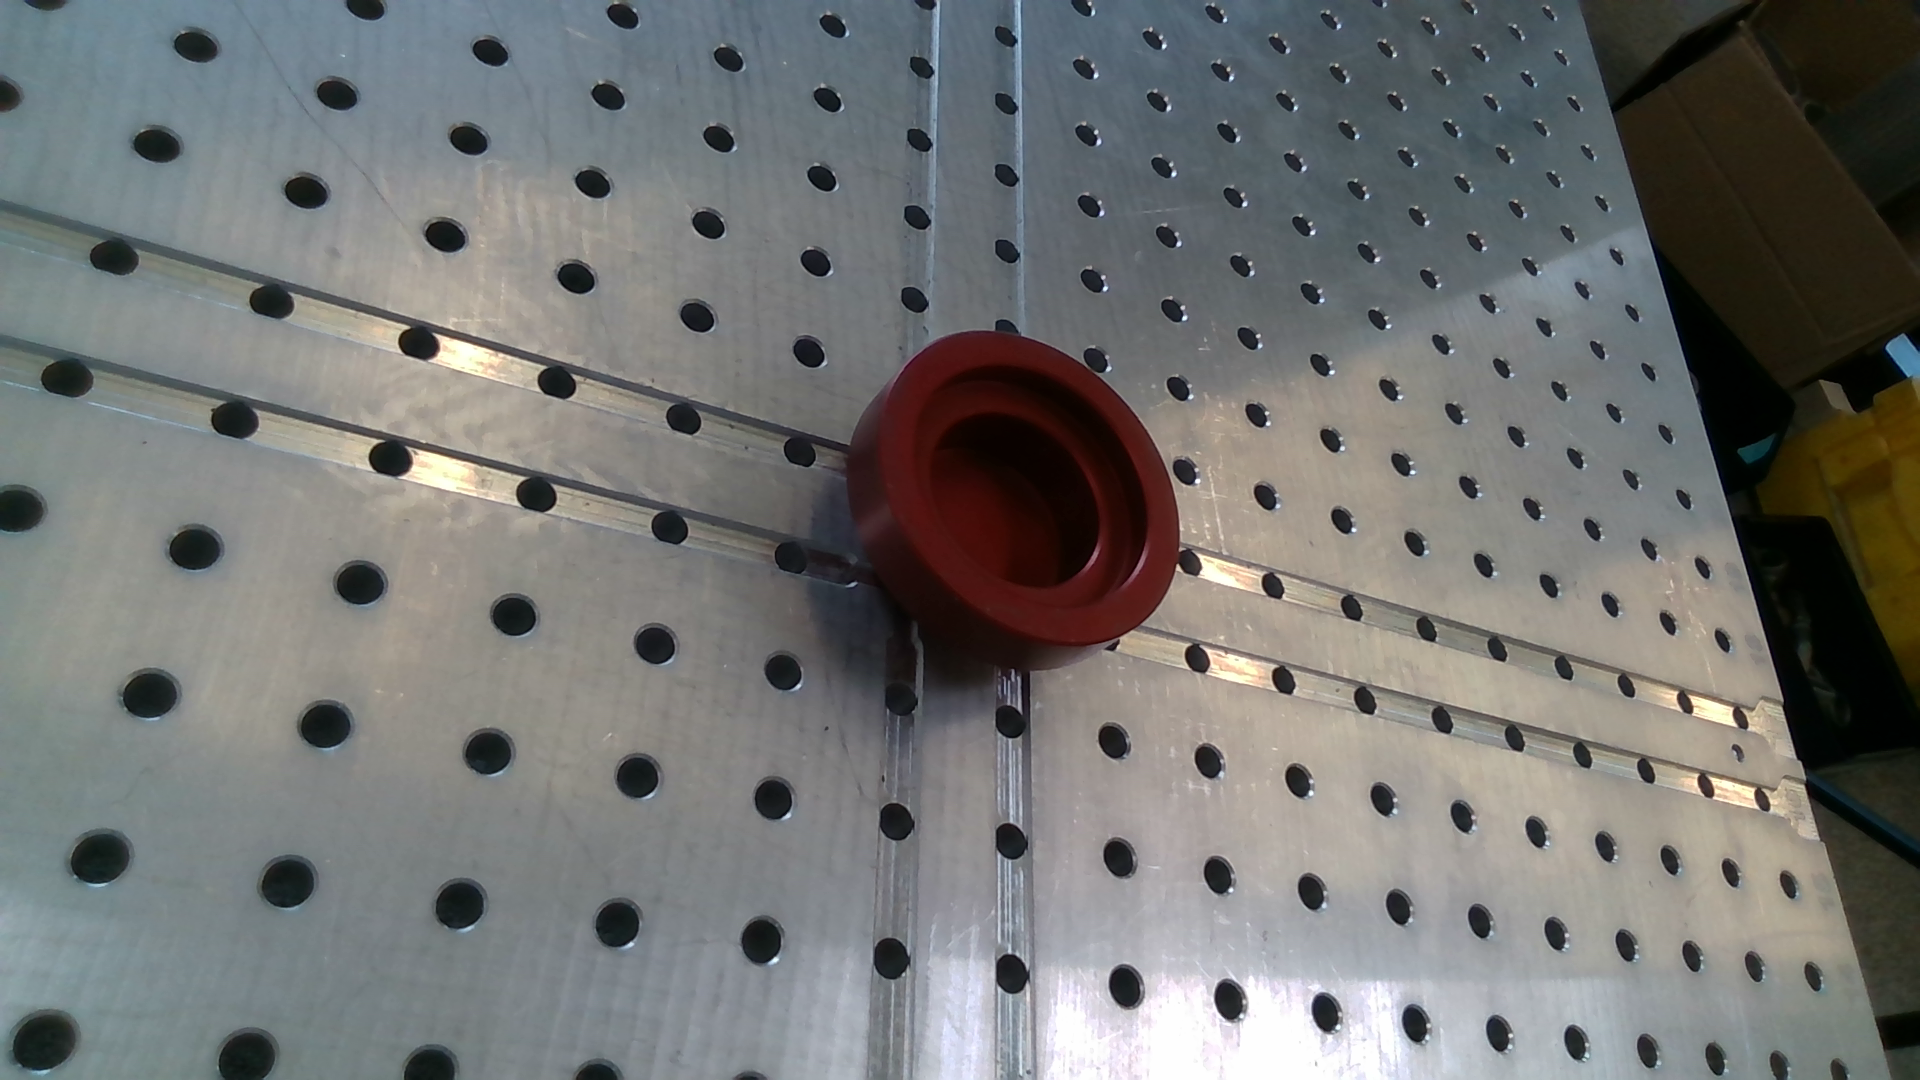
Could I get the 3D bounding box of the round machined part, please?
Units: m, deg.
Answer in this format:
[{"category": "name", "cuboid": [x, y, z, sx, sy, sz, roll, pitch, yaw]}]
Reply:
[{"category": "round machined part", "cuboid": [0.012, -0.008, 0.396, 0.098, 0.042, 0.098, 14, 59, -25]}]
